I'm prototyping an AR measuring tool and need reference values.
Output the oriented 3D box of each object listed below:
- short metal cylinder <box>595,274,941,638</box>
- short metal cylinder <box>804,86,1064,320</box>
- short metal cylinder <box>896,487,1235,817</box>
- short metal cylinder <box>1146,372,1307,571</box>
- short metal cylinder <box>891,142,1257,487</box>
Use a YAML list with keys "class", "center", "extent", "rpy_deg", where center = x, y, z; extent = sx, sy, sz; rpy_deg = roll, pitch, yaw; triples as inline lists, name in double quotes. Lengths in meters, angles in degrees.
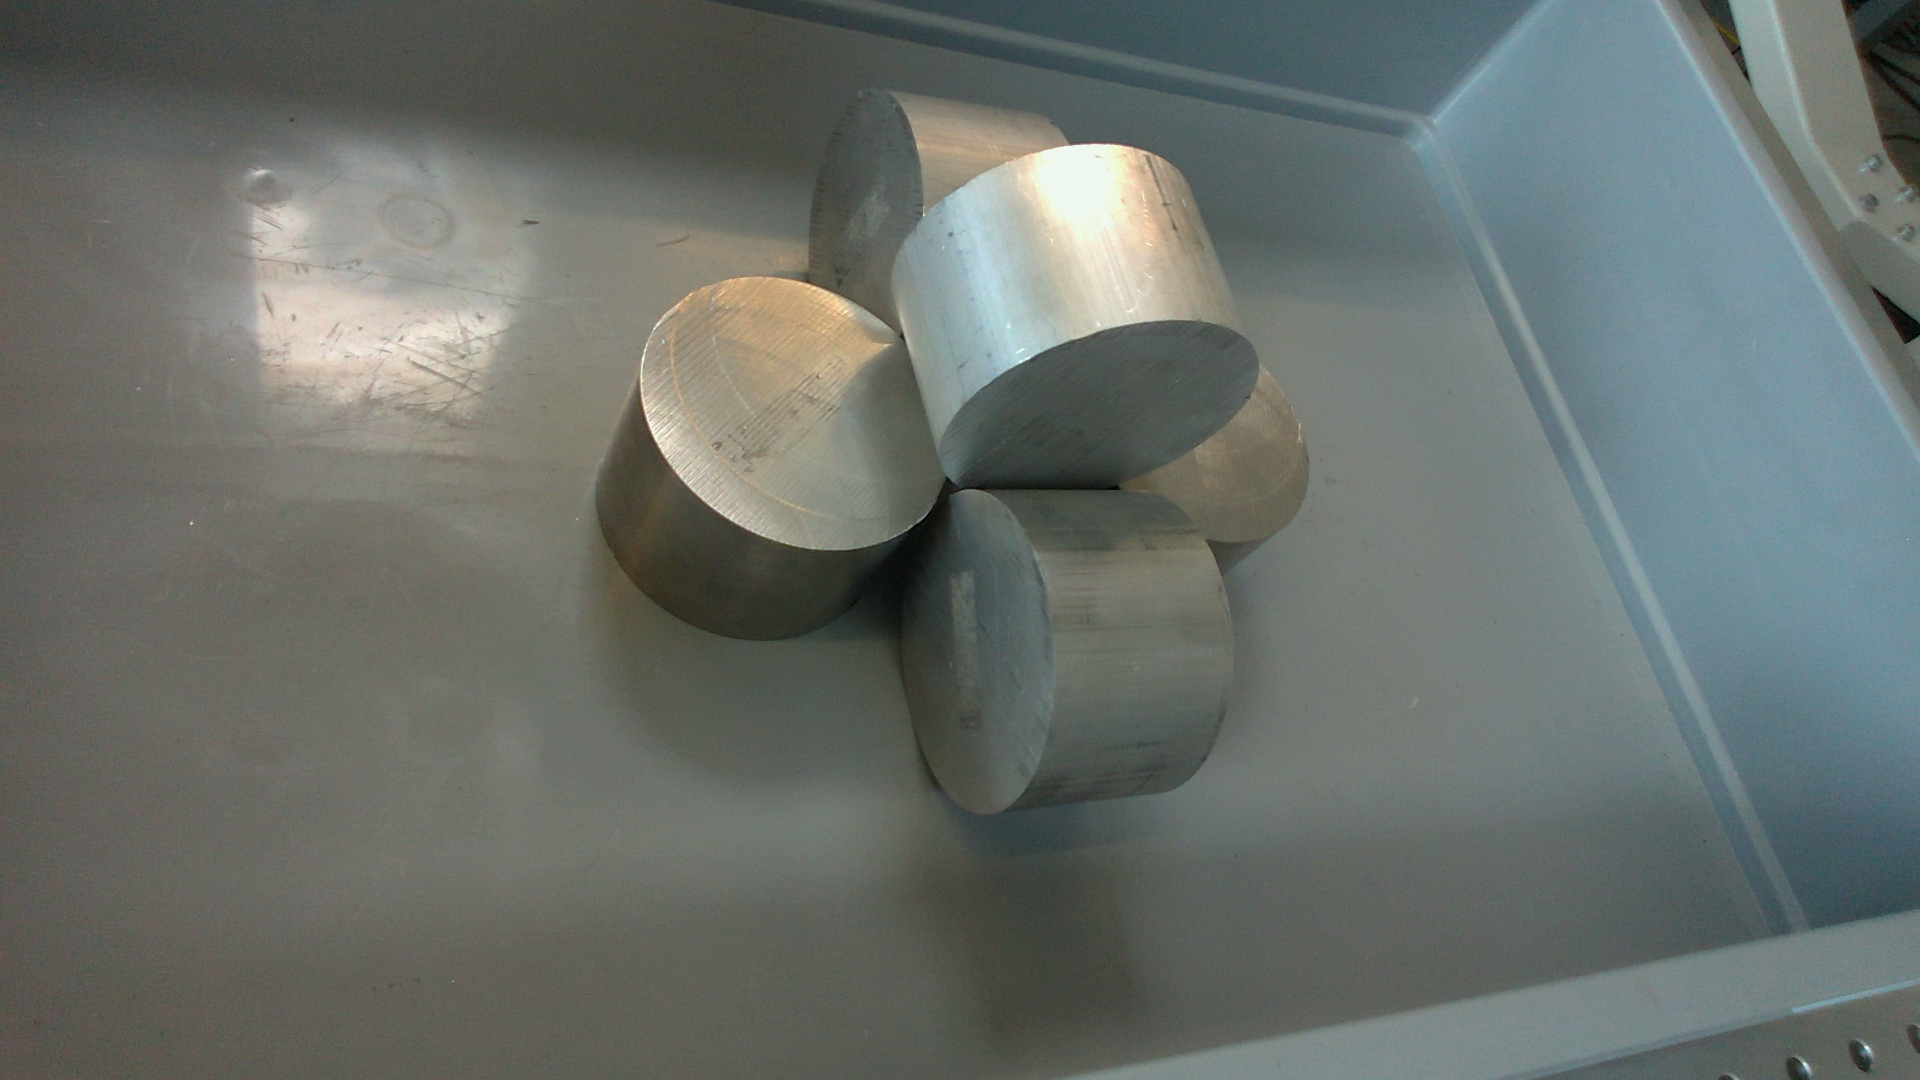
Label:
- class: "short metal cylinder"
  center: [-0.050, -0.021, 0.358]
  extent: [0.080, 0.050, 0.080]
  rpy_deg: [14, 56, -21]
- class: "short metal cylinder"
  center: [-0.007, -0.087, 0.402]
  extent: [0.050, 0.080, 0.080]
  rpy_deg: [-2, 62, -29]
- class: "short metal cylinder"
  center: [0.024, 0.027, 0.349]
  extent: [0.050, 0.080, 0.080]
  rpy_deg: [-2, 62, -29]
- class: "short metal cylinder"
  center: [0.057, -0.023, 0.416]
  extent: [0.080, 0.050, 0.080]
  rpy_deg: [14, 56, -21]
- class: "short metal cylinder"
  center: [0.027, -0.051, 0.342]
  extent: [0.080, 0.080, 0.050]
  rpy_deg: [-1, 62, -29]
